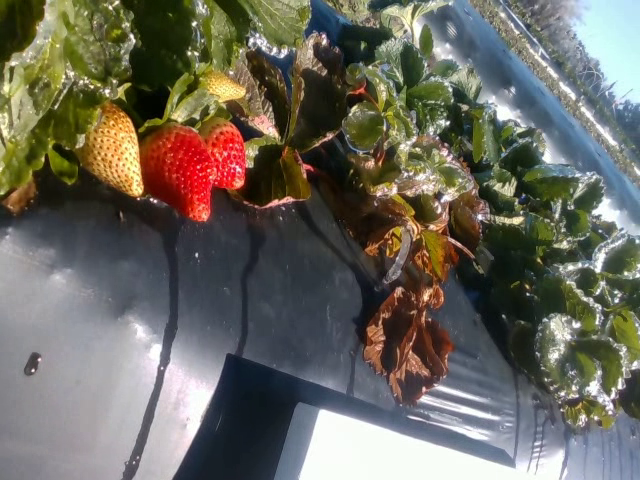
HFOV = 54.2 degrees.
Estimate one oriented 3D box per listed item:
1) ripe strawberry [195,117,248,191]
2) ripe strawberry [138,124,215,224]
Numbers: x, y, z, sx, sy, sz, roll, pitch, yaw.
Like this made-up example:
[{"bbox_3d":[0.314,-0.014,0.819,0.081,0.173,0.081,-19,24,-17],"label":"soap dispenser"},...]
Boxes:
[{"bbox_3d":[-0.050,-0.043,0.320,0.030,0.041,0.036,-5,36,51],"label":"ripe strawberry"},{"bbox_3d":[-0.062,-0.026,0.285,0.036,0.052,0.040,-21,-23,-41],"label":"ripe strawberry"}]
